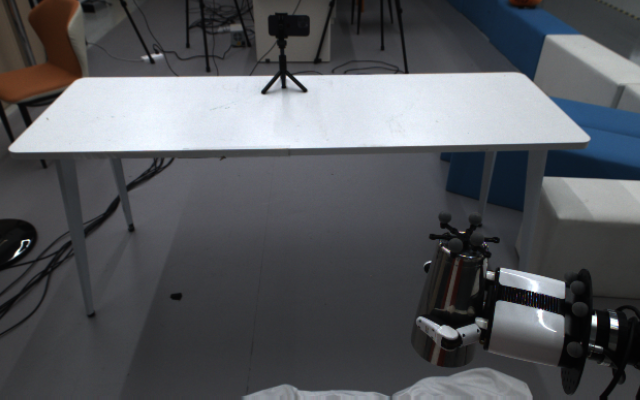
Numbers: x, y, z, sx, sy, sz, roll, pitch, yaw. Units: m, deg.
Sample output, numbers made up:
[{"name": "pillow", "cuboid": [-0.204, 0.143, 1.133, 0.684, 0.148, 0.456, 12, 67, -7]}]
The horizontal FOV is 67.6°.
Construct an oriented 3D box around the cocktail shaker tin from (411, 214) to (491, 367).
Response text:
[{"name": "cocktail shaker tin", "cuboid": [0.182, 0.130, 0.659, 0.093, 0.170, 0.093, 2, 28, -1]}]
